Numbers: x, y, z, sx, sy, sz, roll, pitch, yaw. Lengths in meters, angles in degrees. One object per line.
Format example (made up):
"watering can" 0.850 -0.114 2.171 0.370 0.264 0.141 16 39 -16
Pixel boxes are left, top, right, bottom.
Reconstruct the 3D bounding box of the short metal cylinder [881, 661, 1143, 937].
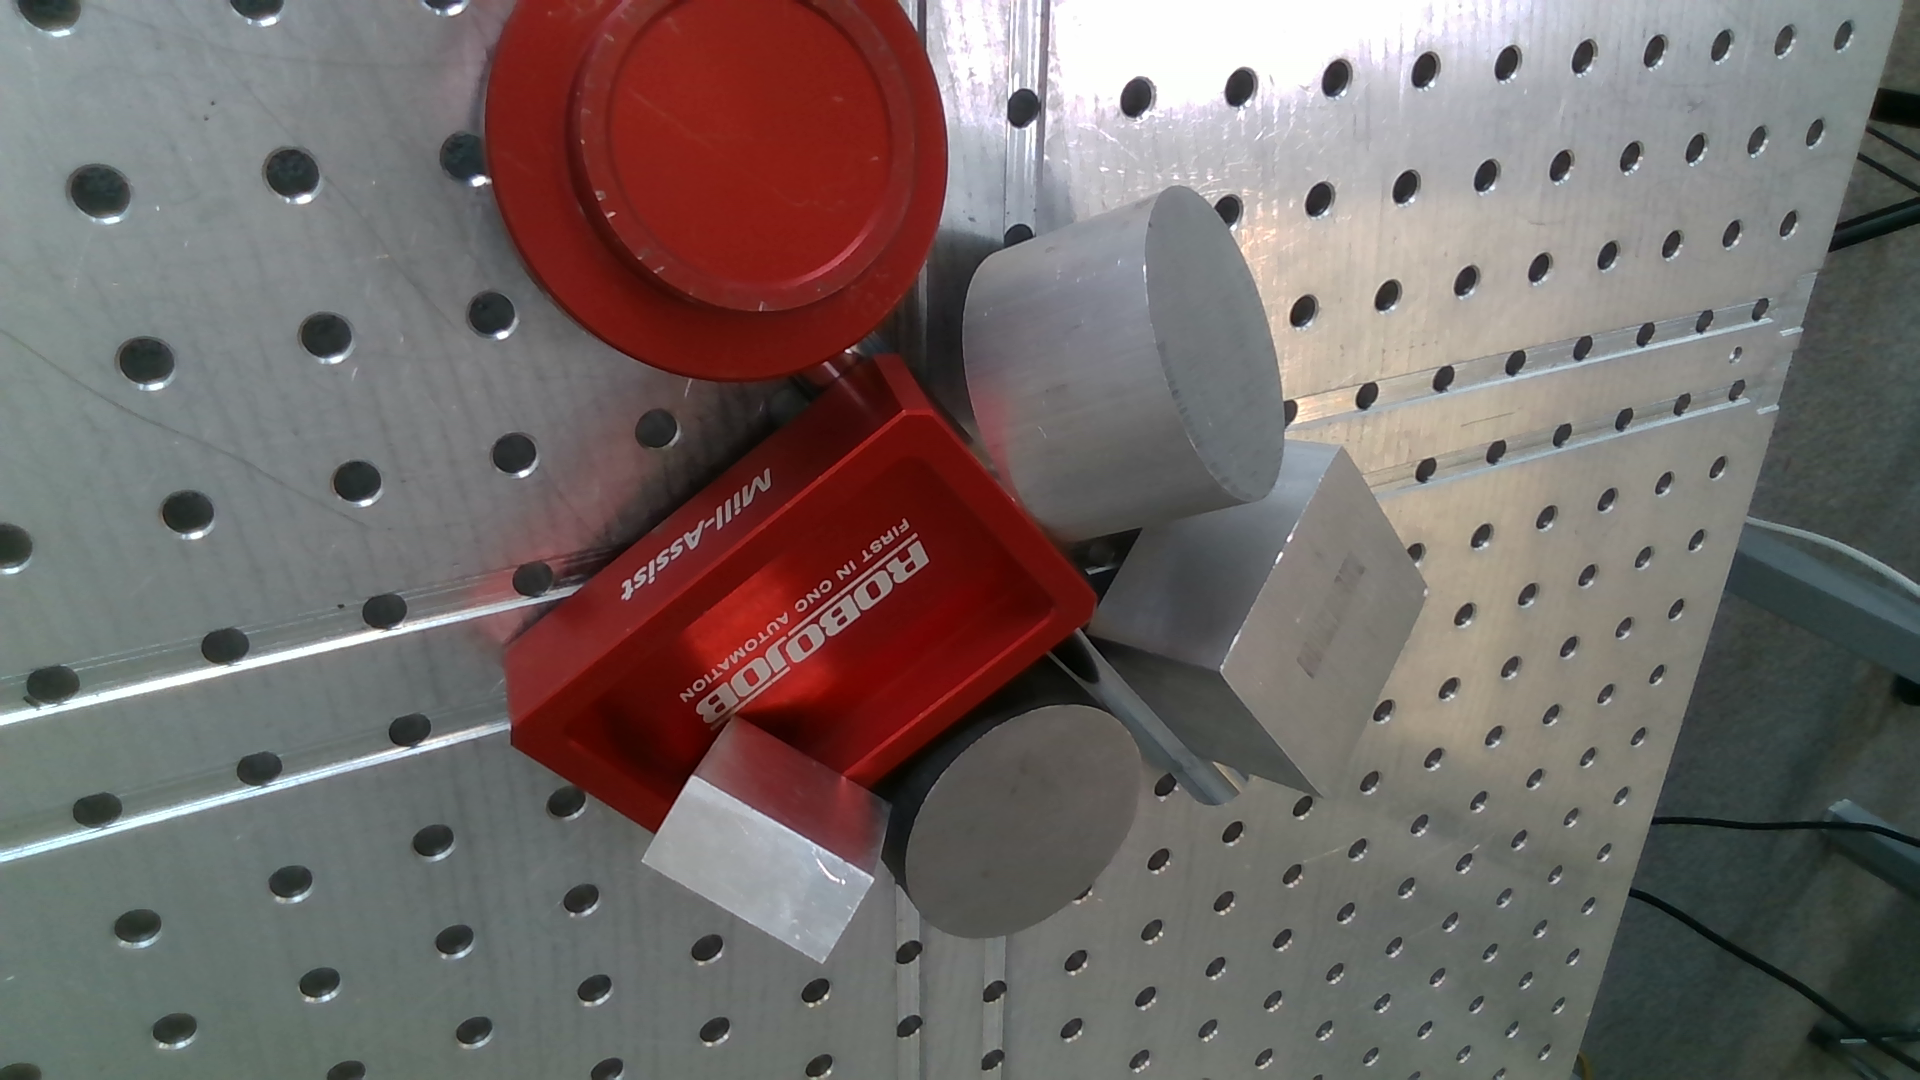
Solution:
"short metal cylinder" 0.008 0.073 0.420 0.080 0.050 0.080 -14 122 -25

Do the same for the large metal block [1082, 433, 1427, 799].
"large metal block" 0.095 0.022 0.432 0.080 0.050 0.080 47 67 -39

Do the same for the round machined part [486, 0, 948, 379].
"round machined part" -0.048 -0.083 0.291 0.098 0.042 0.098 -5 103 -21

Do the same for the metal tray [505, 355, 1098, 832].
"metal tray" -0.040 0.025 0.360 0.130 0.030 0.090 -38 129 7

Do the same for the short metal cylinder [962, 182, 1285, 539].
"short metal cylinder" 0.044 -0.044 0.353 0.080 0.050 0.080 26 57 -50

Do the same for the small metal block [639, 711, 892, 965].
"small metal block" -0.047 0.074 0.350 0.050 0.050 0.025 31 100 -3

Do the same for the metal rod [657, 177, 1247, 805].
"metal rod" 0.011 -0.001 0.401 0.025 0.025 0.301 -46 129 -2
